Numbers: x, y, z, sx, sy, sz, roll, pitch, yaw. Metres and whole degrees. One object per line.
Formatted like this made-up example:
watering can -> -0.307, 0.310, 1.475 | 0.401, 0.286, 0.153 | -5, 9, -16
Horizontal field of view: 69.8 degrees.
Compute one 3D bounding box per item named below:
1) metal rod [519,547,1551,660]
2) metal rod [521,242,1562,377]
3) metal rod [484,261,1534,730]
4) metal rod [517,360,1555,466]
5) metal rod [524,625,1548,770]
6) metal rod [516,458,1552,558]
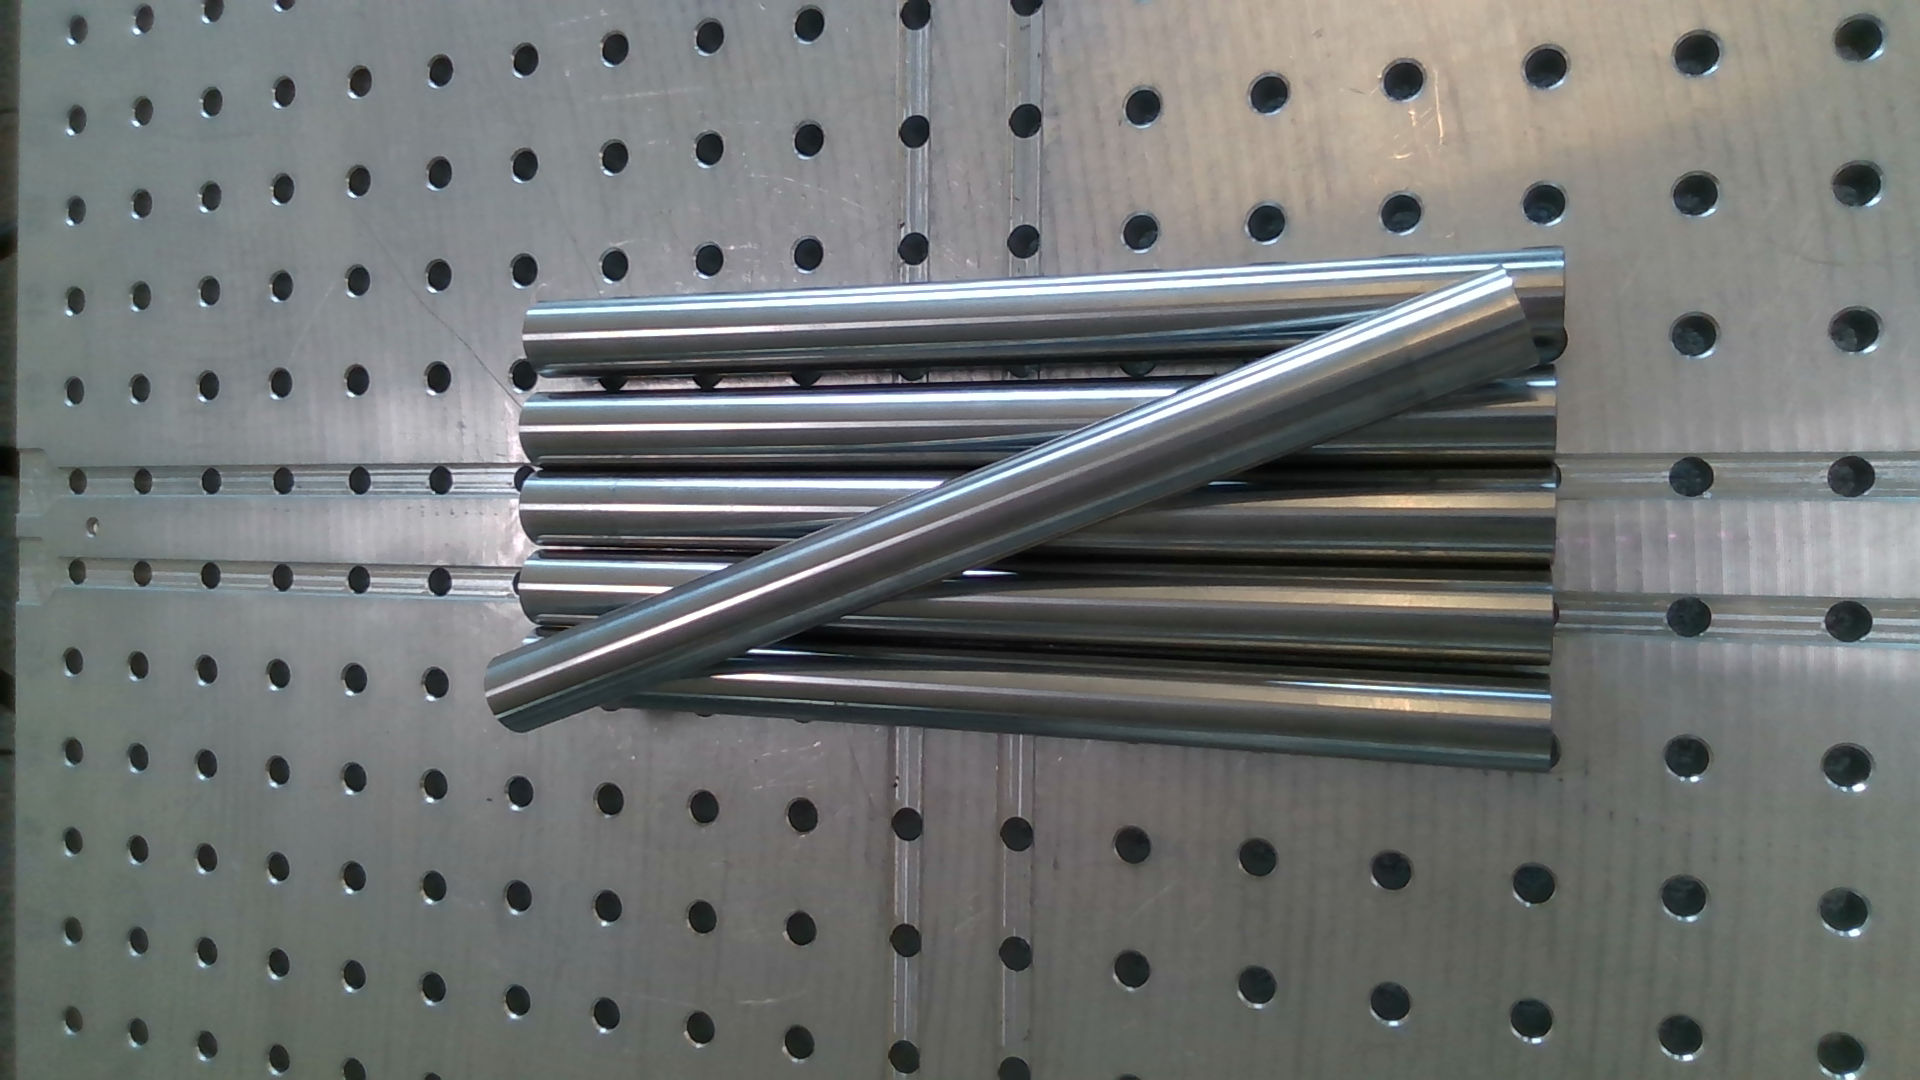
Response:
metal rod -> 0.006, 0.016, 0.395 | 0.300, 0.025, 0.025 | 1, 90, 20
metal rod -> 0.007, -0.063, 0.392 | 0.300, 0.025, 0.025 | 1, 90, 20
metal rod -> -0.003, -0.004, 0.371 | 0.300, 0.025, 0.025 | -20, 83, 19
metal rod -> 0.006, -0.034, 0.393 | 0.300, 0.025, 0.025 | 1, 90, 20
metal rod -> 0.005, 0.042, 0.395 | 0.300, 0.025, 0.025 | 1, 91, 20
metal rod -> 0.005, -0.010, 0.393 | 0.300, 0.025, 0.025 | 1, 90, 20
